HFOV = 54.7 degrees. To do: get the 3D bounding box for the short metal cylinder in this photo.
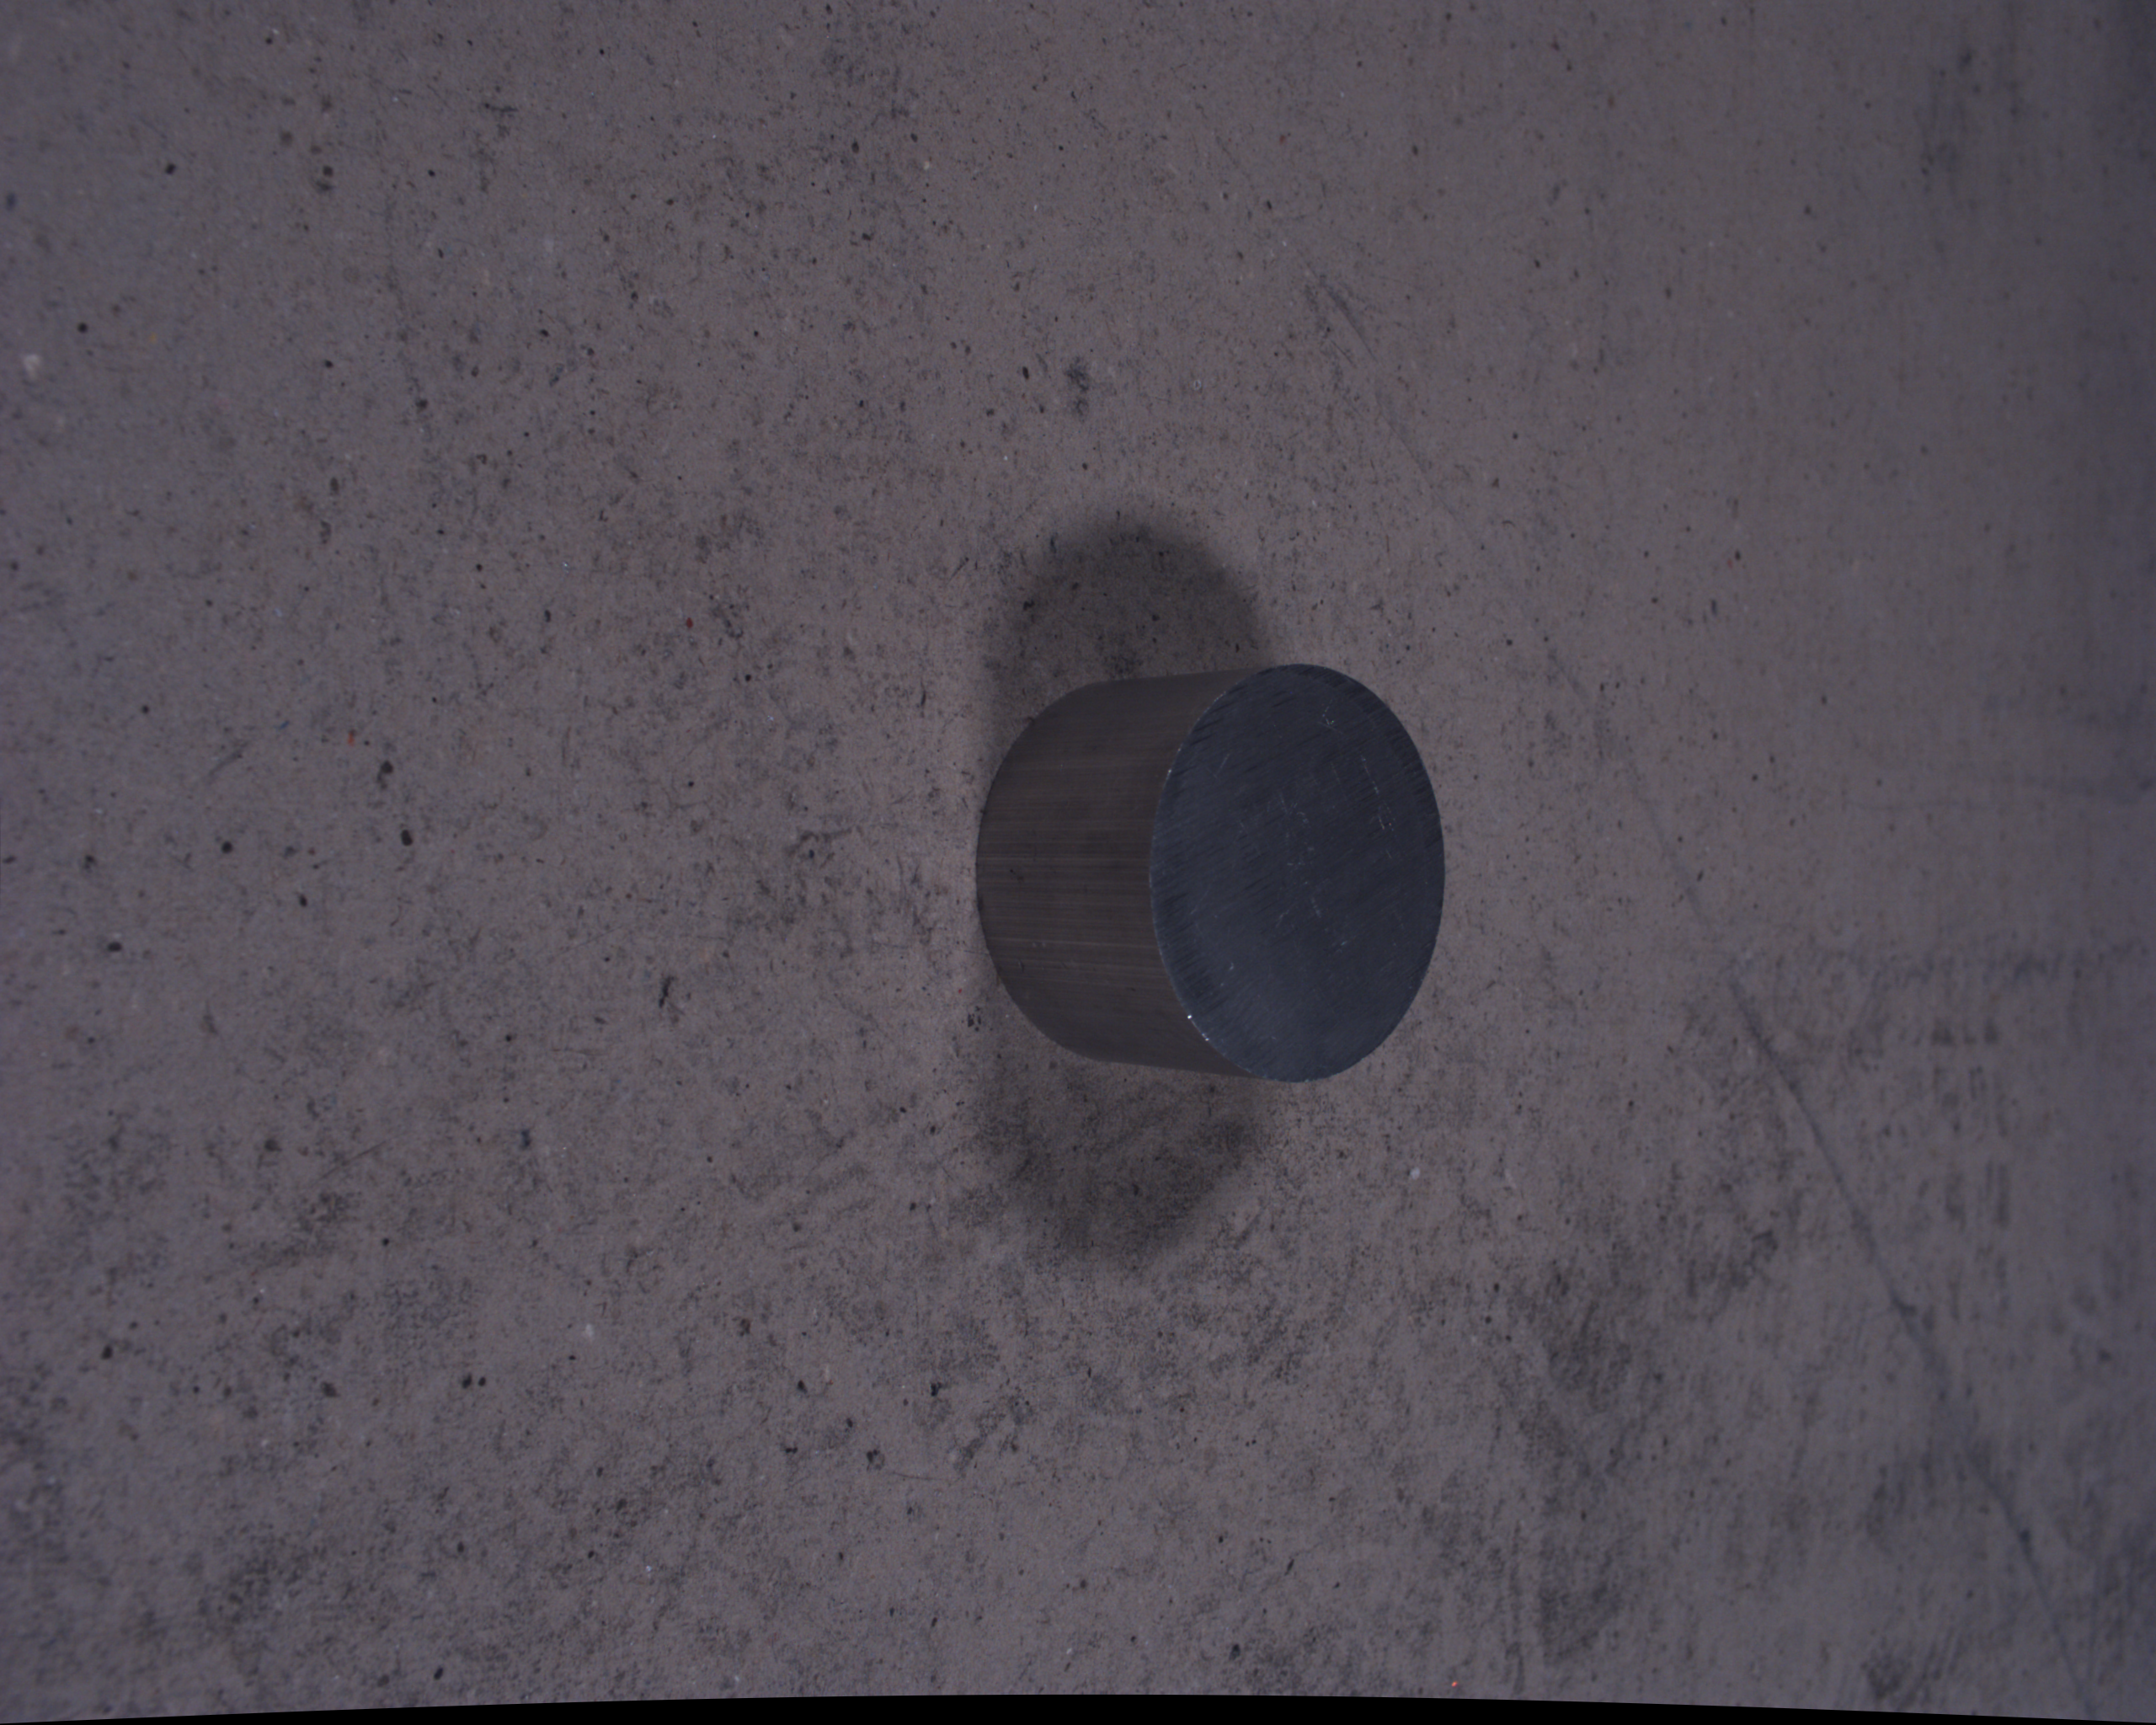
[{"bbox_3d":[0.028,0.002,0.415,0.081,0.050,0.079,0,90,-40],"label":"short metal cylinder"}]
